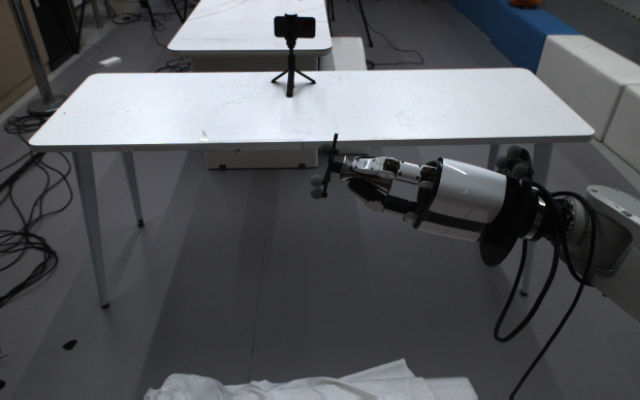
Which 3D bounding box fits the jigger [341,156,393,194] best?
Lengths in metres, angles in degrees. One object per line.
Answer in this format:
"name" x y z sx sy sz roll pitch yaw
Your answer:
"jigger" 0.069 -0.038 0.648 0.071 0.043 0.043 13 36 4
